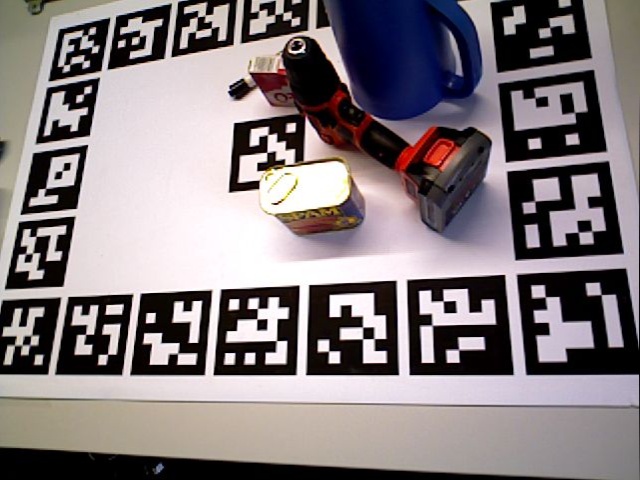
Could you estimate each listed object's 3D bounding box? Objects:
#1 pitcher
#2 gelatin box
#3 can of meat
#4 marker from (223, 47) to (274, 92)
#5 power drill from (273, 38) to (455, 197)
[{"bbox_3d":[0.086,-0.234,0.556,0.189,0.242,0.133,29,86,30],"label":"pitcher"},{"bbox_3d":[-0.031,-0.195,0.667,0.090,0.073,0.030,7,78,18],"label":"gelatin box"},{"bbox_3d":[-0.009,-0.044,0.604,0.102,0.084,0.057,-5,69,15],"label":"can of meat"},{"bbox_3d":[-0.076,-0.235,0.720,0.121,0.019,0.019,-30,67,8],"label":"marker"},{"bbox_3d":[0.045,-0.125,0.561,0.187,0.185,0.057,32,86,18],"label":"power drill"}]
